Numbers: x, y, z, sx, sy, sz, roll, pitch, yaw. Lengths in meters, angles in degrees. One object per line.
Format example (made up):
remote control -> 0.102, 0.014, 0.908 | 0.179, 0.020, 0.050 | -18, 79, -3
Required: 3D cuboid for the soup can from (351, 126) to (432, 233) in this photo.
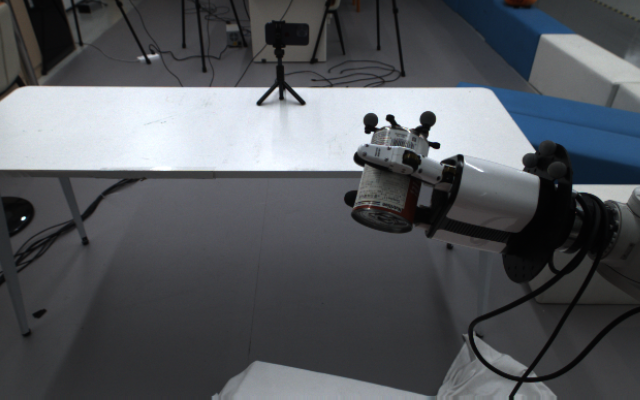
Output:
soup can -> 0.081, -0.023, 0.539 | 0.067, 0.067, 0.101 | 11, 72, 13
